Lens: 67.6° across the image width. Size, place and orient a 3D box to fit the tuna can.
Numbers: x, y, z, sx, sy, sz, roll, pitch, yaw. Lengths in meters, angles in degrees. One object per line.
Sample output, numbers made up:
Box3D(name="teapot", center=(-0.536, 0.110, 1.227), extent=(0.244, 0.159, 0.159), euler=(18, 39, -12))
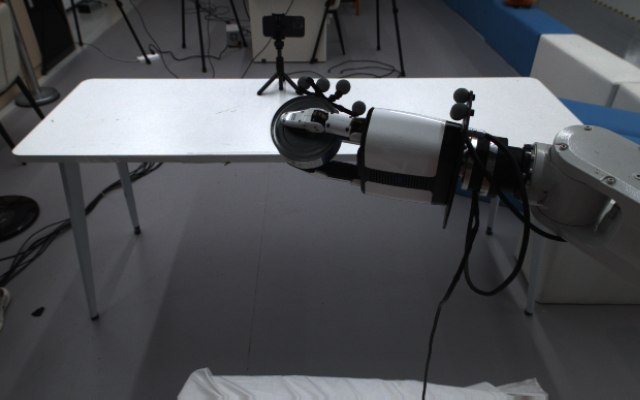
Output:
Box3D(name="tuna can", center=(-0.015, -0.083, 0.597), extent=(0.085, 0.034, 0.085), euler=(-2, 71, 6))
